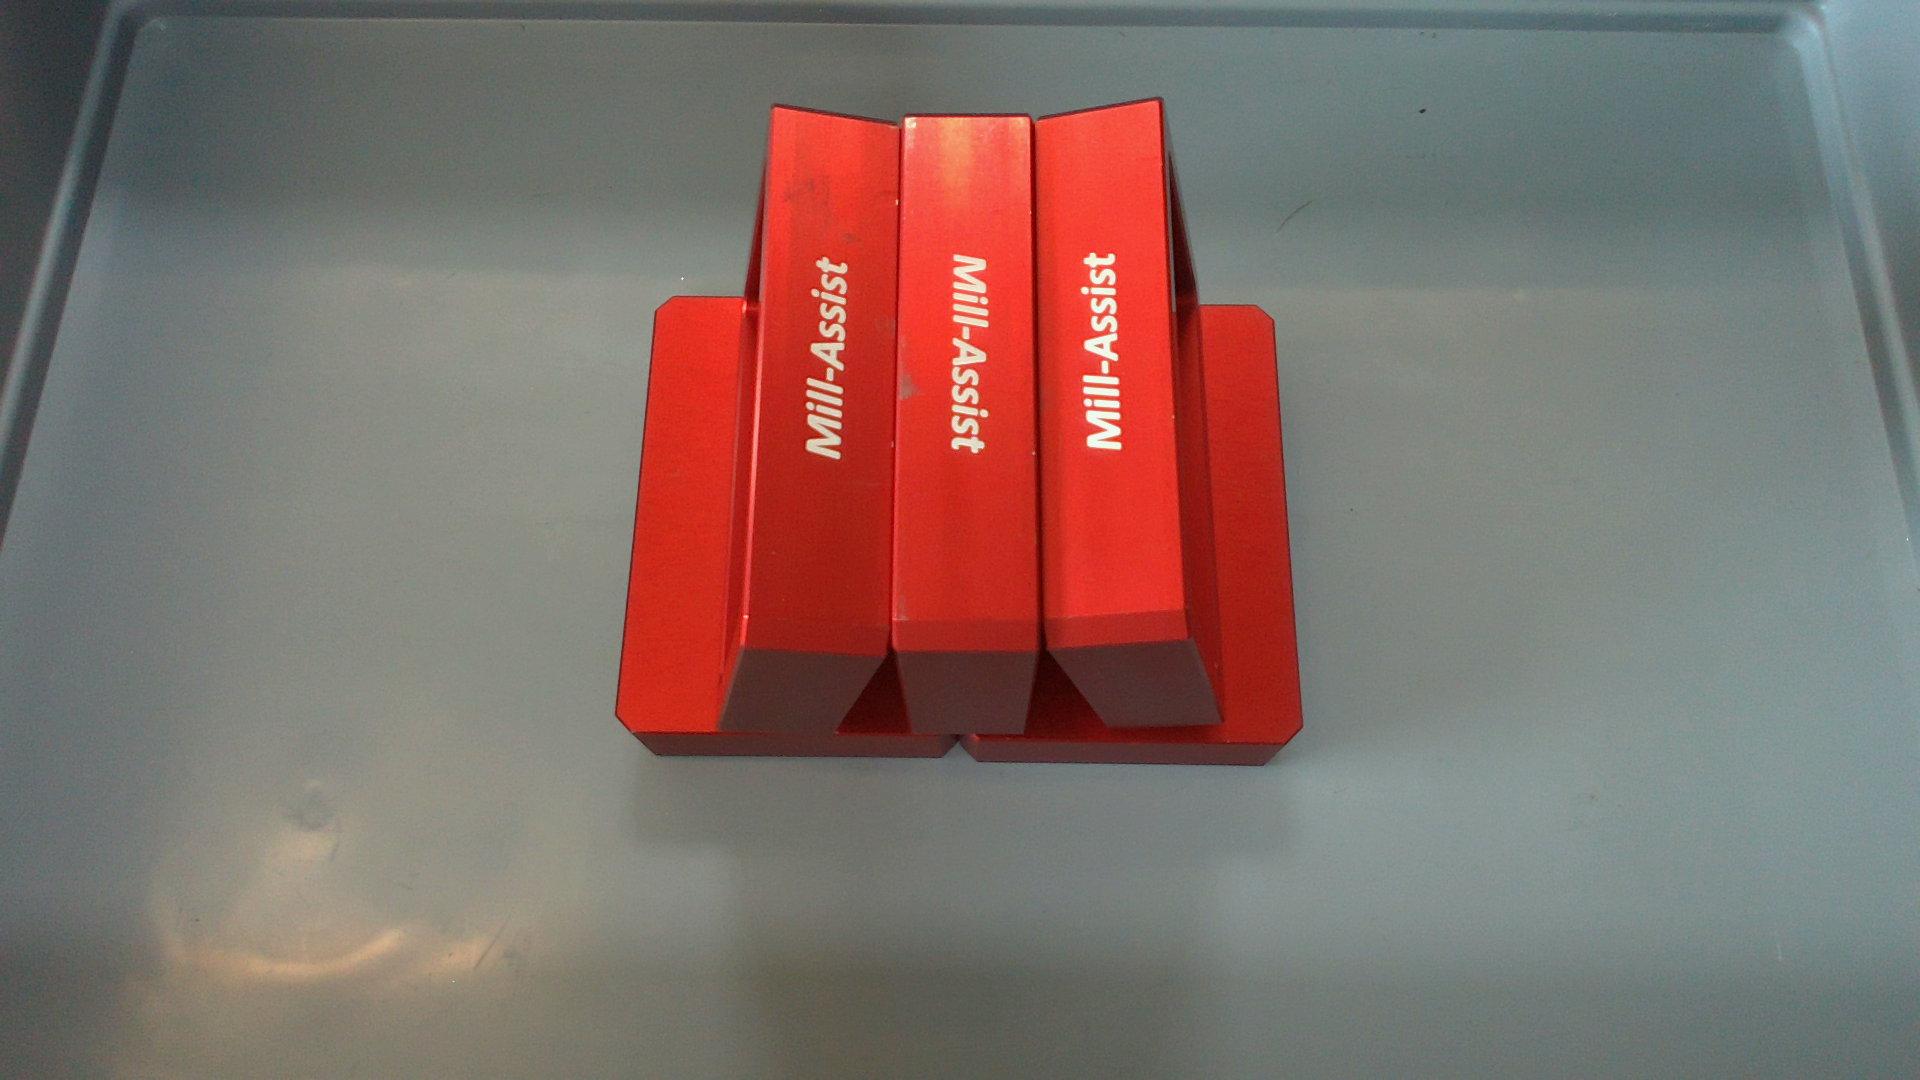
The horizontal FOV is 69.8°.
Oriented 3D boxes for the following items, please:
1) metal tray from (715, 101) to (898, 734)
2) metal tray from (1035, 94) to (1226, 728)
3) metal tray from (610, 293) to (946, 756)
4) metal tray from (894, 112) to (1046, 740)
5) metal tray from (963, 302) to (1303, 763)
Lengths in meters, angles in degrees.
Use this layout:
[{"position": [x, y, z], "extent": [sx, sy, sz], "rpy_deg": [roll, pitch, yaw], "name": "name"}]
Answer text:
[{"position": [-0.038, -0.026, 0.333], "extent": [0.030, 0.090, 0.130], "rpy_deg": [4, 69, -12], "name": "metal tray"}, {"position": [0.043, -0.027, 0.334], "extent": [0.030, 0.090, 0.130], "rpy_deg": [-5, 69, 14], "name": "metal tray"}, {"position": [-0.045, -0.006, 0.392], "extent": [0.090, 0.030, 0.130], "rpy_deg": [1, 70, 0], "name": "metal tray"}, {"position": [0.002, -0.025, 0.334], "extent": [0.030, 0.090, 0.130], "rpy_deg": [0, 68, 0], "name": "metal tray"}, {"position": [0.045, -0.004, 0.392], "extent": [0.090, 0.030, 0.130], "rpy_deg": [1, 70, 0], "name": "metal tray"}]
